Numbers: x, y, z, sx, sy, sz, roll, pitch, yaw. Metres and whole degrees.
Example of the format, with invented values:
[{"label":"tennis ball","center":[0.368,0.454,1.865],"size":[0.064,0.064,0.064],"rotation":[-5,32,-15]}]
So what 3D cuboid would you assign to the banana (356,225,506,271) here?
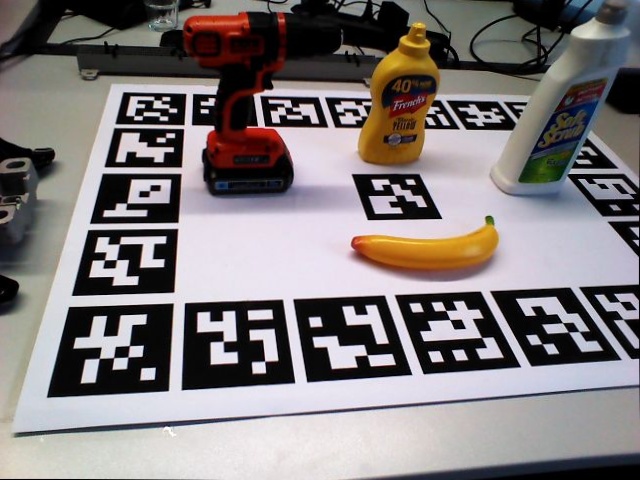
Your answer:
[{"label":"banana","center":[0.140,0.004,0.598],"size":[0.197,0.039,0.074],"rotation":[-6,47,-12]}]

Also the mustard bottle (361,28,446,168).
[{"label":"mustard bottle","center":[0.121,-0.190,0.705],"size":[0.096,0.192,0.058],"rotation":[-5,45,-17]}]

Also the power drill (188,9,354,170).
[{"label":"power drill","center":[-0.055,-0.178,0.618],"size":[0.184,0.188,0.057],"rotation":[-7,45,-11]}]

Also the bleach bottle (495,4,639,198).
[{"label":"bleach bottle","center":[0.322,-0.172,0.671],"size":[0.103,0.252,0.067],"rotation":[5,43,-5]}]
